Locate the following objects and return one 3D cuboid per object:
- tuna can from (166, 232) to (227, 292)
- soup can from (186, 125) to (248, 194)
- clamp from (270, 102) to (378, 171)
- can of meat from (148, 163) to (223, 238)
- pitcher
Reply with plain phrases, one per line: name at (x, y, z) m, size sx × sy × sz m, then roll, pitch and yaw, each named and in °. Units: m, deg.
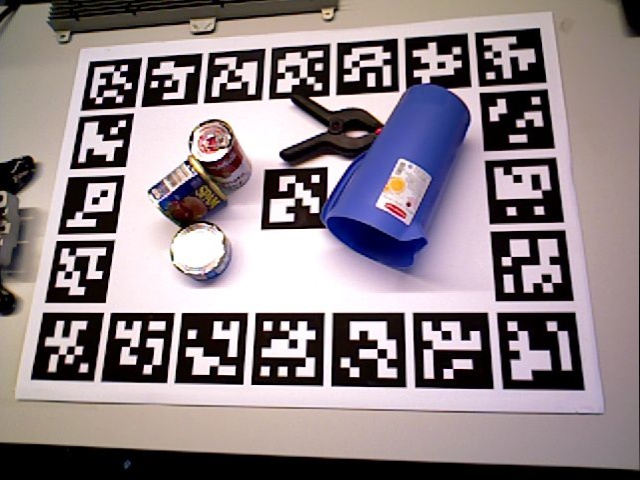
tuna can at (-0.184, 0.034, 0.814) m, size 0.086 × 0.034 × 0.085 m, roll -3°, pitch 74°, yaw 9°
soup can at (-0.154, -0.119, 0.822) m, size 0.068 × 0.102 × 0.067 m, roll -3°, pitch 73°, yaw 10°
clamp at (0.008, -0.162, 0.852) m, size 0.165 × 0.037 × 0.120 m, roll 2°, pitch 69°, yaw 6°
can of meat at (-0.204, -0.055, 0.806) m, size 0.083 × 0.102 × 0.057 m, roll -35°, pitch 71°, yaw 0°
pitcher at (0.107, -0.078, 0.744) m, size 0.190 × 0.134 × 0.239 m, roll 14°, pitch 67°, yaw 36°
